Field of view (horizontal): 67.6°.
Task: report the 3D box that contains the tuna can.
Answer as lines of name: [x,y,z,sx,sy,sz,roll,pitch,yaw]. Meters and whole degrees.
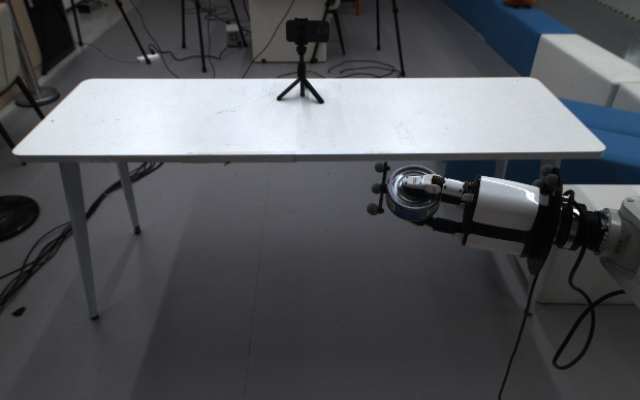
tuna can: [0.148,-0.009,0.746,0.085,0.034,0.085,-2,57,3]
